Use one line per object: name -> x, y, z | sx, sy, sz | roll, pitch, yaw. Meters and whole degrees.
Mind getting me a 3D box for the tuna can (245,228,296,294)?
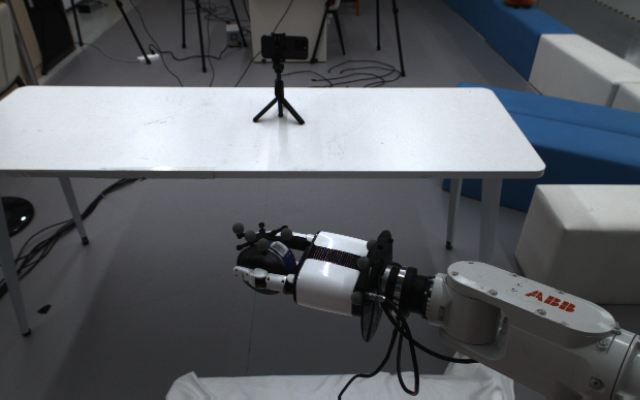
tuna can -> -0.079, 0.098, 0.731 | 0.085, 0.085, 0.034 | 14, 29, 17
